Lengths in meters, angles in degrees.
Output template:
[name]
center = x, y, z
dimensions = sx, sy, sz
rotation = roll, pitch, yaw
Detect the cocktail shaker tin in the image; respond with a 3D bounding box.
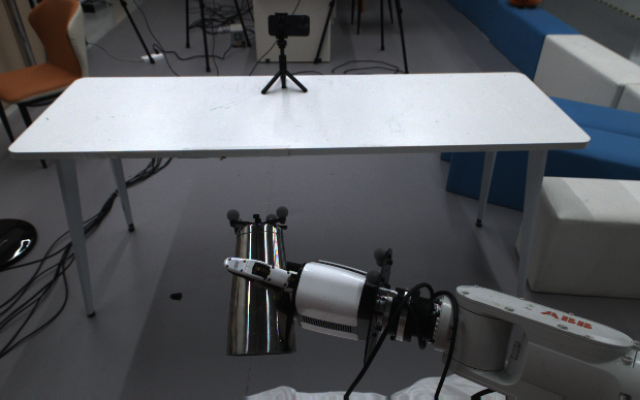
[cocktail shaker tin]
center = -0.082, 0.124, 0.664
dimensions = 0.093, 0.093, 0.170
rotation = -2, 71, -6
